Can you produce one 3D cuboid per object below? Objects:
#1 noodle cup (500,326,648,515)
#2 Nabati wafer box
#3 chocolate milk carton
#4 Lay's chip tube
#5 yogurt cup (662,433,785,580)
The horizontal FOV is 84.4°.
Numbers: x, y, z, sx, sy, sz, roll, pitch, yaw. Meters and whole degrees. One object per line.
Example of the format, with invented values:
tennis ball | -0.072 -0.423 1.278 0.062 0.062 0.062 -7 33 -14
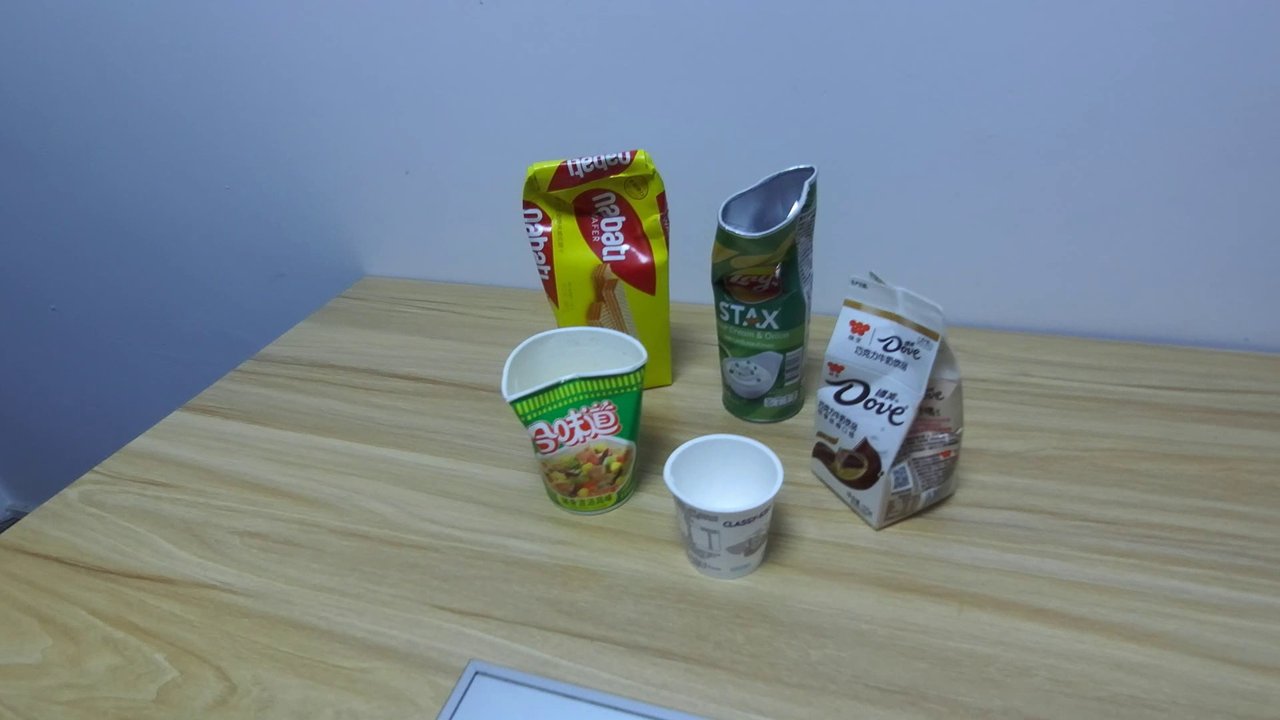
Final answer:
noodle cup | -0.039 0.044 0.500 0.094 0.109 0.087 -2 33 4
Nabati wafer box | -0.027 -0.065 0.581 0.113 0.205 0.042 -11 31 -6
chocolate milk carton | 0.166 0.024 0.462 0.073 0.155 0.084 -19 36 -19
Lay's chip tube | 0.095 -0.041 0.534 0.079 0.200 0.071 -5 42 4
yogurt cup | 0.053 0.095 0.446 0.072 0.068 0.072 -4 33 3
